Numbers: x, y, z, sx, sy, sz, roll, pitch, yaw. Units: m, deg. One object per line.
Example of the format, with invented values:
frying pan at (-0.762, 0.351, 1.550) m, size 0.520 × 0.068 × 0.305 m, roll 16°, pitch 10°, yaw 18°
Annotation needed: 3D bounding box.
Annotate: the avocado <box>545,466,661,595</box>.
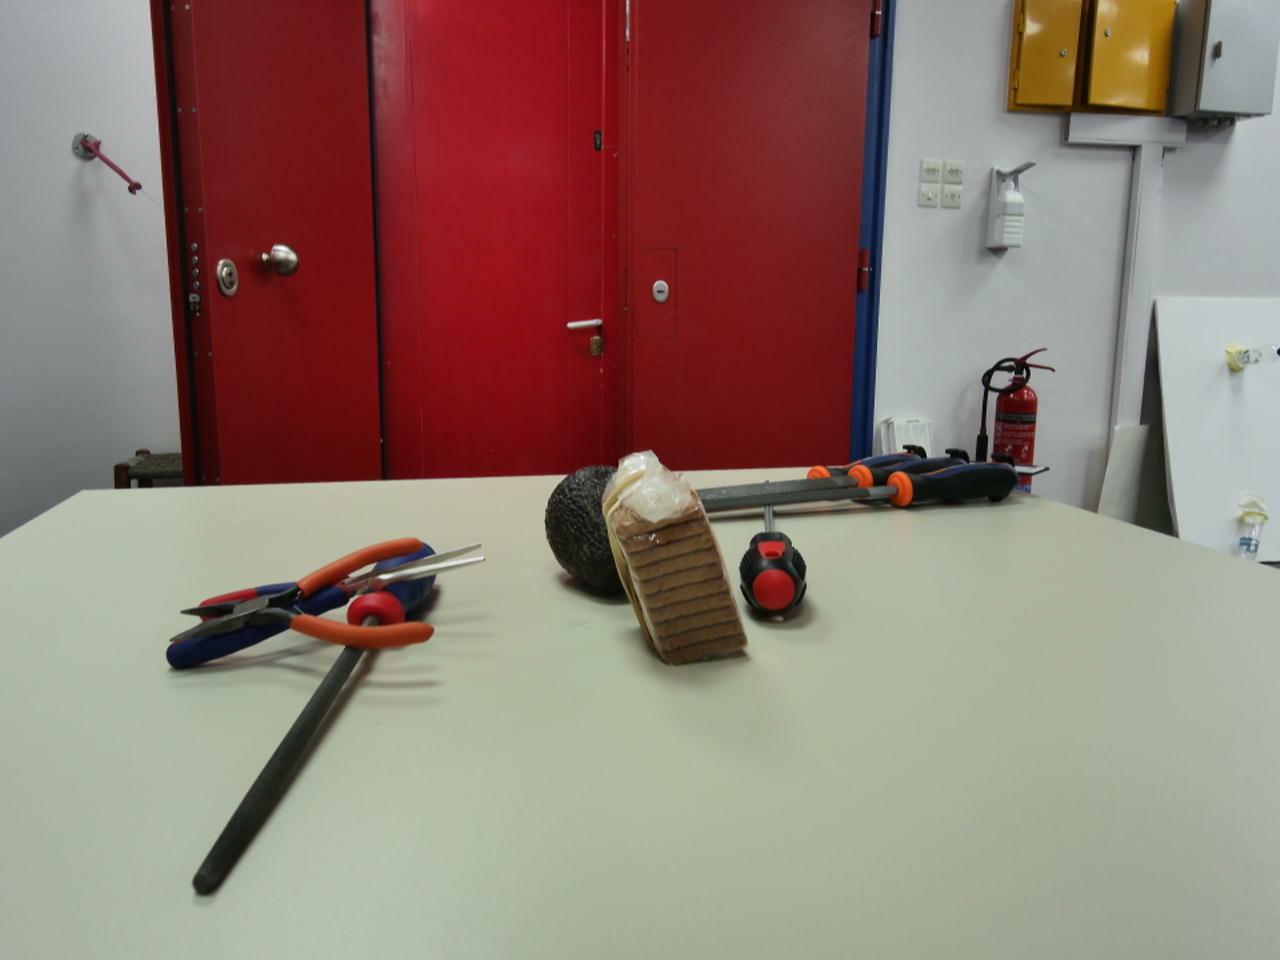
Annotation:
avocado at (-0.023, 0.027, 0.590) m, size 0.070 × 0.069 × 0.090 m, roll 2°, pitch 8°, yaw 12°
